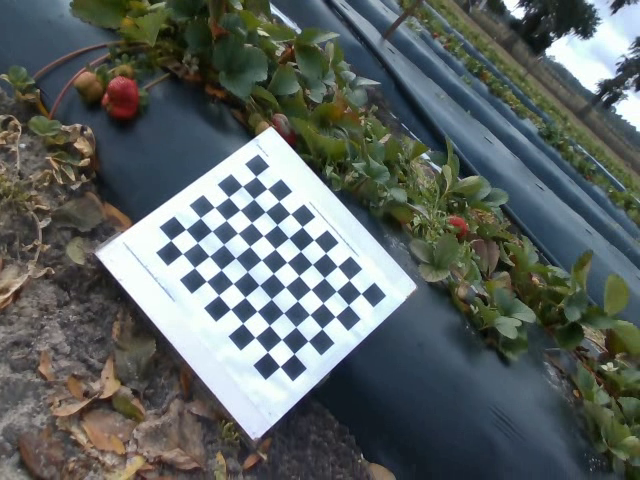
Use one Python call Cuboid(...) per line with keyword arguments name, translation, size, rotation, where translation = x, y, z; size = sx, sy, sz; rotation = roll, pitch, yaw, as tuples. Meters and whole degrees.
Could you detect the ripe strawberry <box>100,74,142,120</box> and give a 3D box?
Cuboid(name="ripe strawberry", translation=(-0.286, -0.211, 0.803), size=(0.066, 0.075, 0.053), rotation=(30, -20, -1))
